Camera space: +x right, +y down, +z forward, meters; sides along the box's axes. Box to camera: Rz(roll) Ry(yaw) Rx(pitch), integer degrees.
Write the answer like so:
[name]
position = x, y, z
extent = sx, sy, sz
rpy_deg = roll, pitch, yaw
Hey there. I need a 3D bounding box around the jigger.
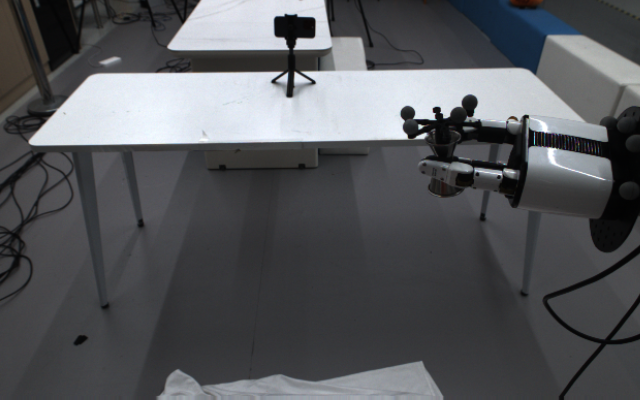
[jigger]
position = 0.146, -0.044, 0.570
extent = 0.043, 0.071, 0.043
rpy_deg = -10, 32, 6
